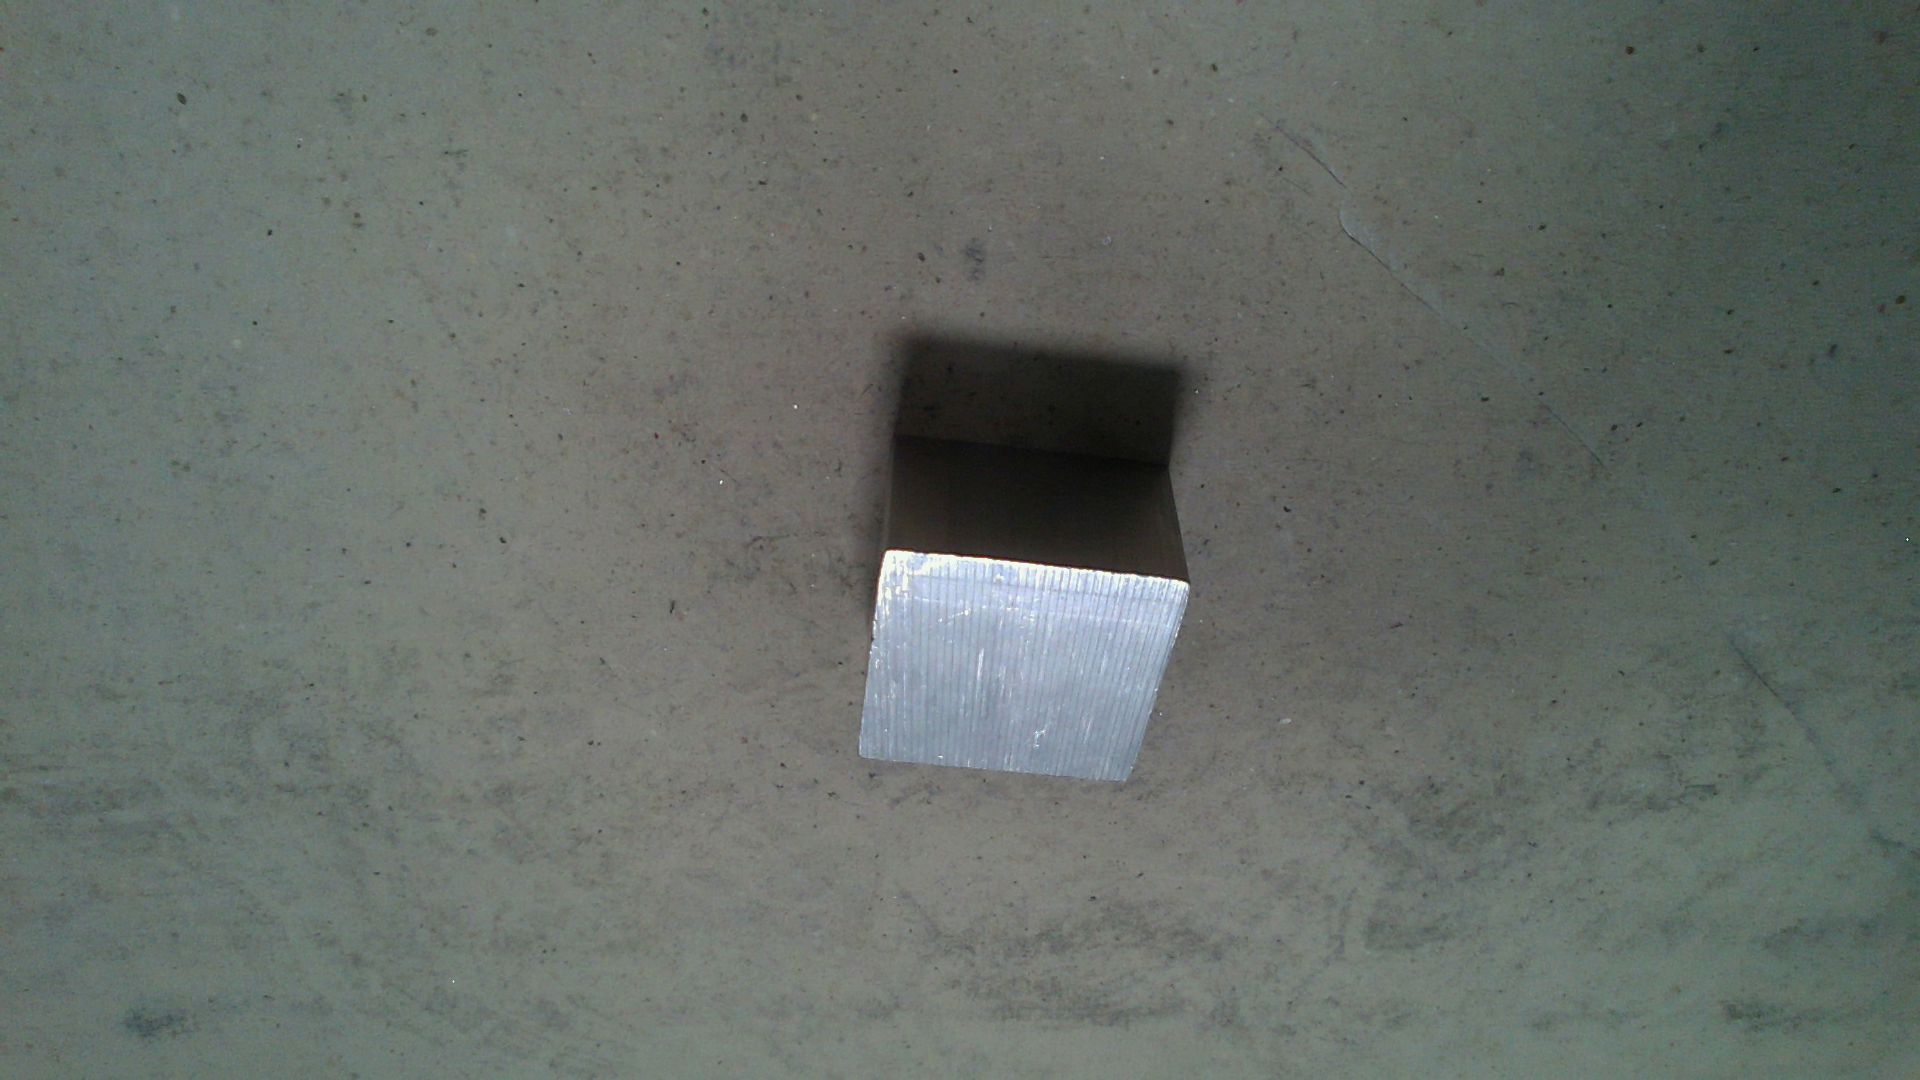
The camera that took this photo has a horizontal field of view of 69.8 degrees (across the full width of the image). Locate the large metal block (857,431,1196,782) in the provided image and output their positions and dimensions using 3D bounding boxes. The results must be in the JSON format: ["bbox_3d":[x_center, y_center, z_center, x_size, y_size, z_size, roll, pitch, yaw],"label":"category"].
[{"bbox_3d":[0.015,0.020,0.392,0.080,0.050,0.080,6,130,-5],"label":"large metal block"}]
